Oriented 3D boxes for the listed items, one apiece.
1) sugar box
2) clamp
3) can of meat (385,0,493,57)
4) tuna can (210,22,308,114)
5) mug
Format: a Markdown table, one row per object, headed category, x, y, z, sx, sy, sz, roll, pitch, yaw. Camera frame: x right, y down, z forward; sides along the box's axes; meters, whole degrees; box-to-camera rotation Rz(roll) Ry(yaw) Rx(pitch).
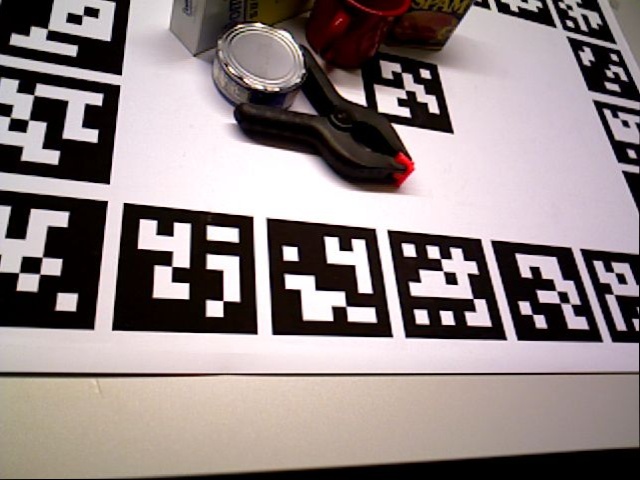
| category | x | y | z | sx | sy | sz | roll | pitch | yaw |
| --- | --- | --- | --- | --- | --- | --- | --- | --- | --- |
| sugar box | -0.052 | -0.241 | 0.512 | 0.172 | 0.095 | 0.045 | -35 | 79 | -34 |
| clamp | 0.019 | -0.094 | 0.501 | 0.165 | 0.037 | 0.119 | 38 | 52 | -6 |
| can of meat | 0.122 | -0.253 | 0.595 | 0.100 | 0.086 | 0.057 | -2 | 64 | -25 |
| tuna can | -0.056 | -0.153 | 0.494 | 0.085 | 0.034 | 0.085 | 8 | 64 | -18 |
| mug | 0.036 | -0.220 | 0.534 | 0.093 | 0.083 | 0.115 | 28 | 59 | -8 |
